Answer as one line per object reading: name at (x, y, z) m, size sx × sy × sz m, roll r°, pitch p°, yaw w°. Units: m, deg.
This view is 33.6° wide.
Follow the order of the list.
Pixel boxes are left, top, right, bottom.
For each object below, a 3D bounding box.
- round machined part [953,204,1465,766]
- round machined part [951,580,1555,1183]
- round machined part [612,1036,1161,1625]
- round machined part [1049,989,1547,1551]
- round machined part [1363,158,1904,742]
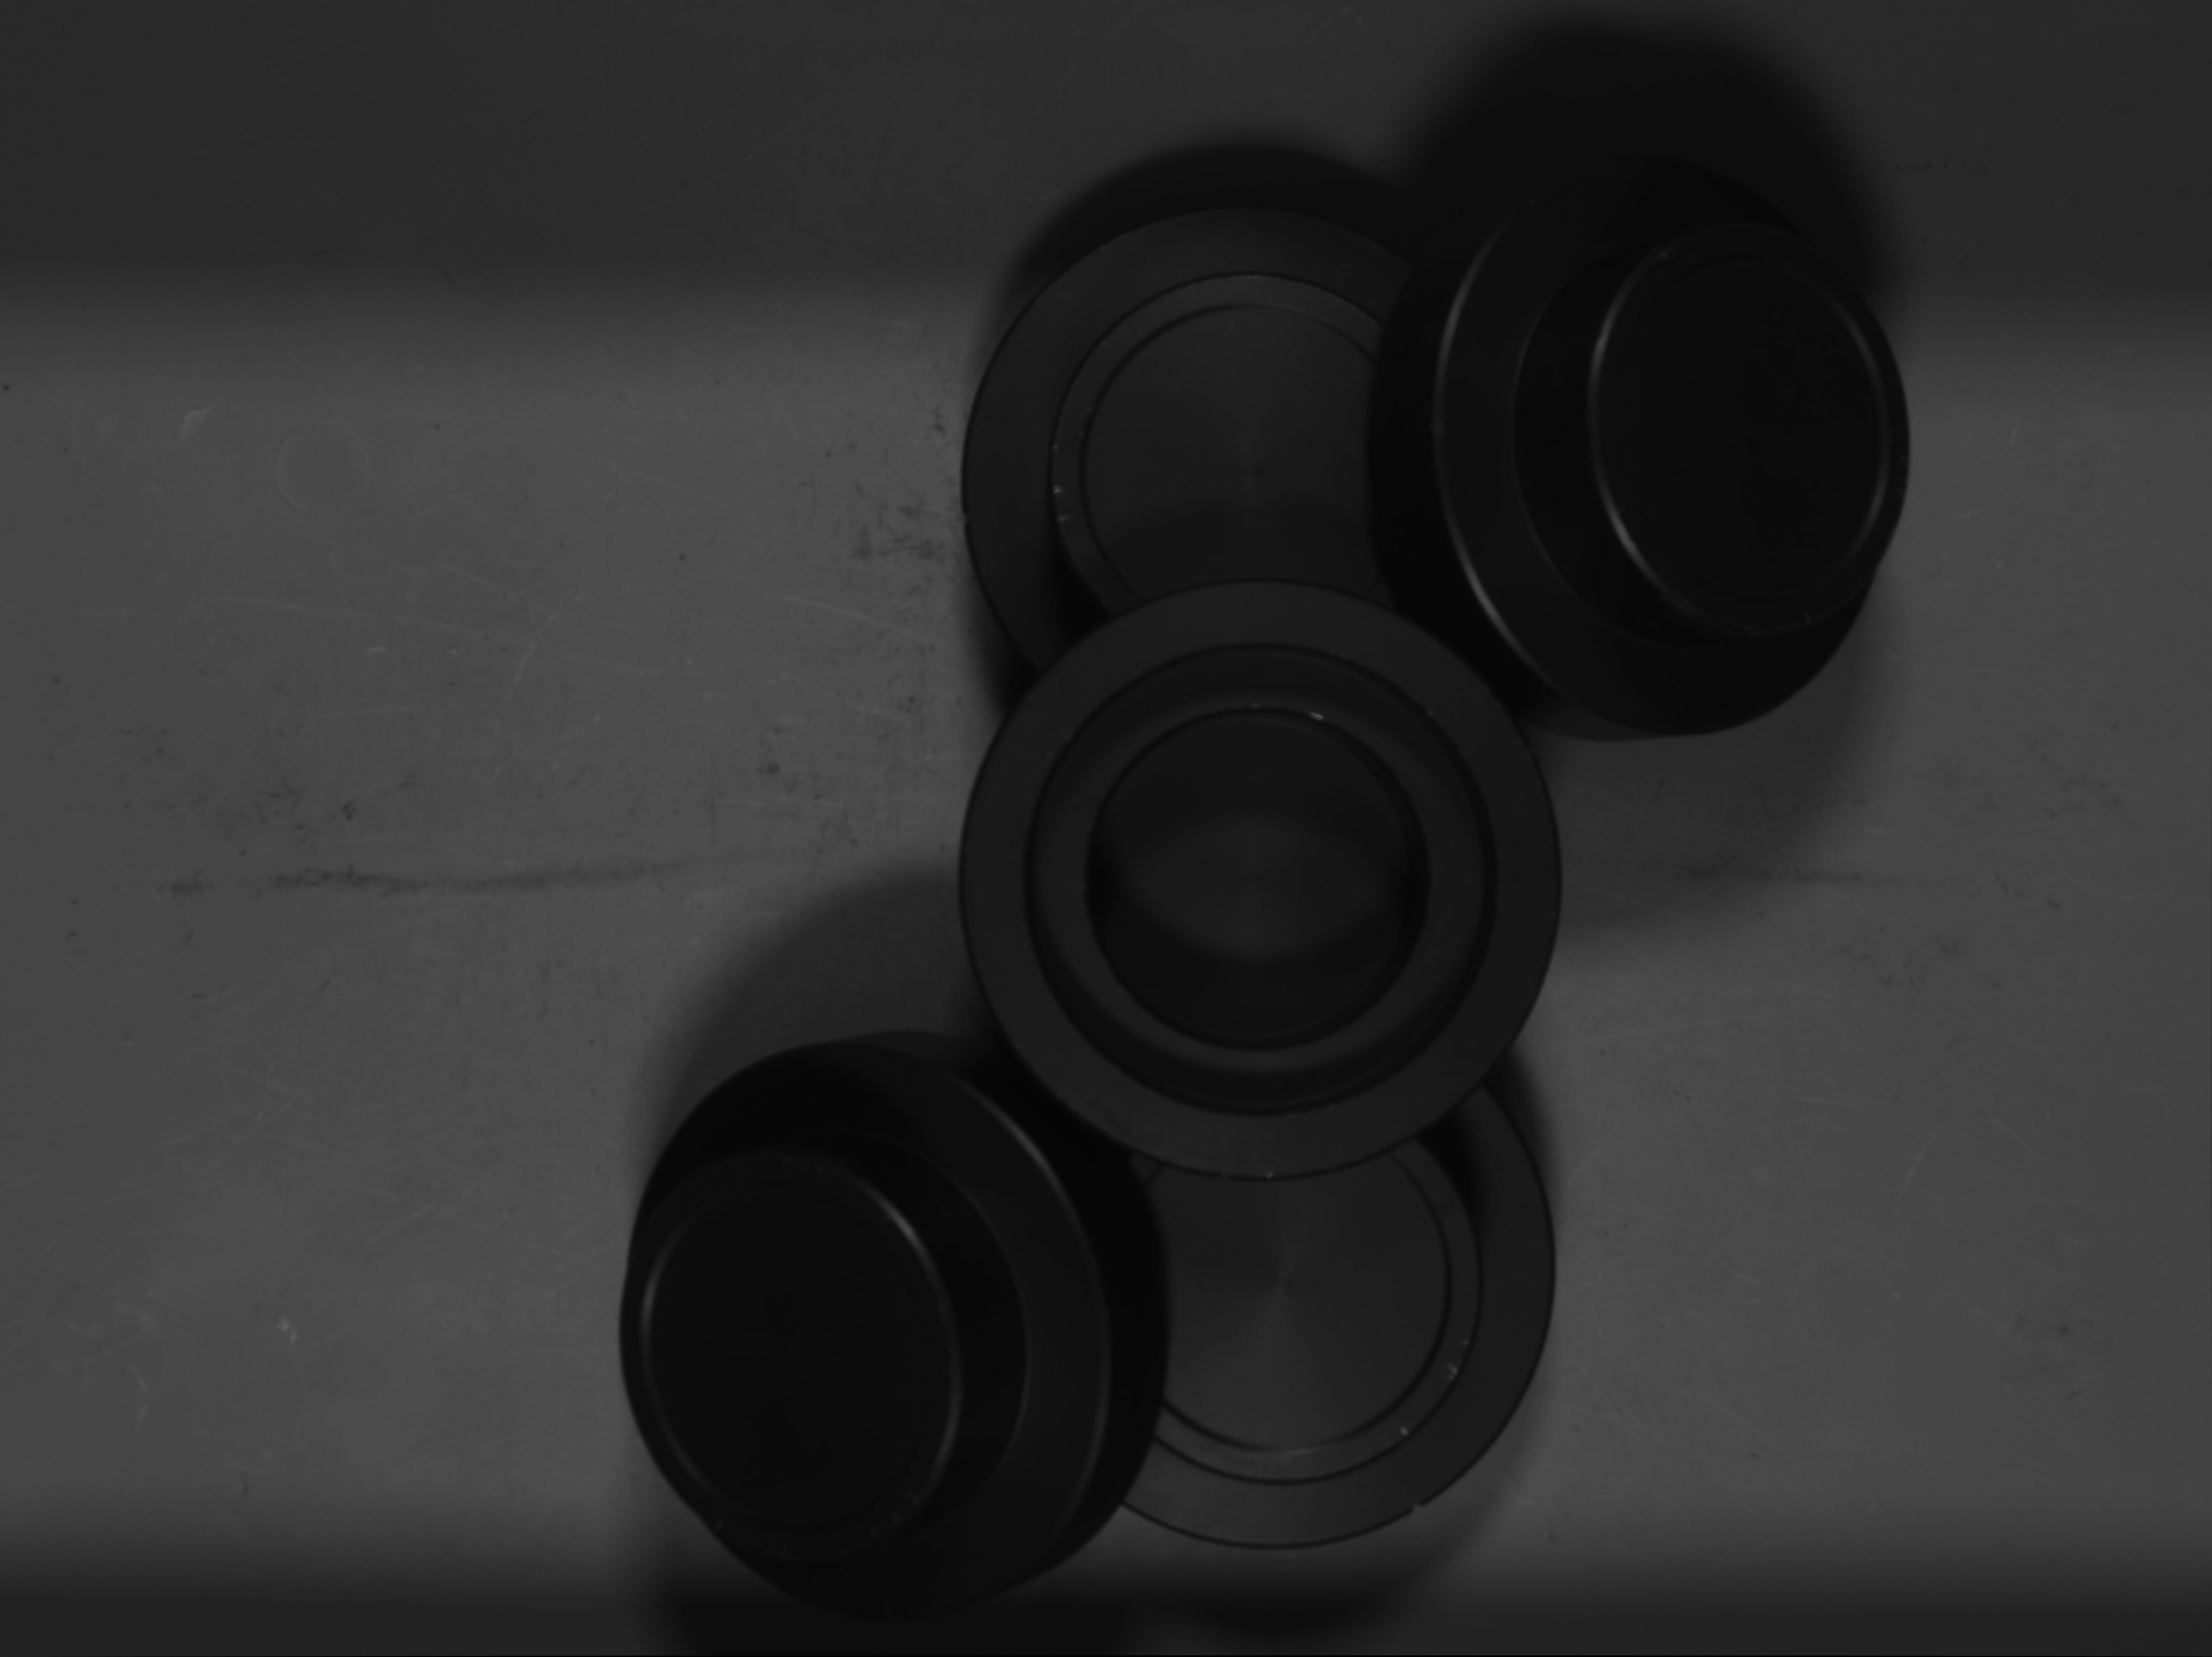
round machined part at (0.022, -0.060, 0.635) m, size 0.098 × 0.042 × 0.098 m, roll 0°, pitch 90°, yaw 0°
round machined part at (0.024, 0.009, 0.614) m, size 0.098 × 0.042 × 0.098 m, roll 0°, pitch 90°, yaw 0°
round machined part at (-0.043, 0.085, 0.614) m, size 0.098 × 0.042 × 0.098 m, roll 2°, pitch 94°, yaw 29°
round machined part at (0.028, 0.077, 0.635) m, size 0.098 × 0.042 × 0.098 m, roll 0°, pitch 90°, yaw 0°
round machined part at (0.095, -0.064, 0.615) m, size 0.098 × 0.042 × 0.098 m, roll 2°, pitch 86°, yaw -31°
